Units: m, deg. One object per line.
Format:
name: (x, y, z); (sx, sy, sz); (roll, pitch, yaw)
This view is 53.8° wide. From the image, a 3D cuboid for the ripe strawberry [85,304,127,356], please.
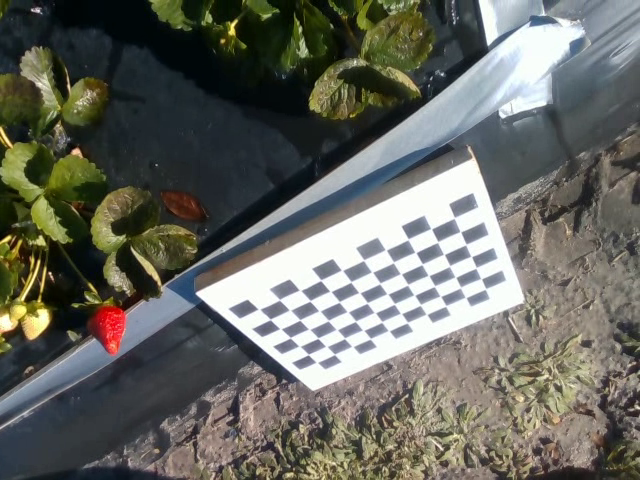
ripe strawberry: (-0.171, 0.075, 0.507); (0.036, 0.045, 0.038); (-24, -26, 15)
